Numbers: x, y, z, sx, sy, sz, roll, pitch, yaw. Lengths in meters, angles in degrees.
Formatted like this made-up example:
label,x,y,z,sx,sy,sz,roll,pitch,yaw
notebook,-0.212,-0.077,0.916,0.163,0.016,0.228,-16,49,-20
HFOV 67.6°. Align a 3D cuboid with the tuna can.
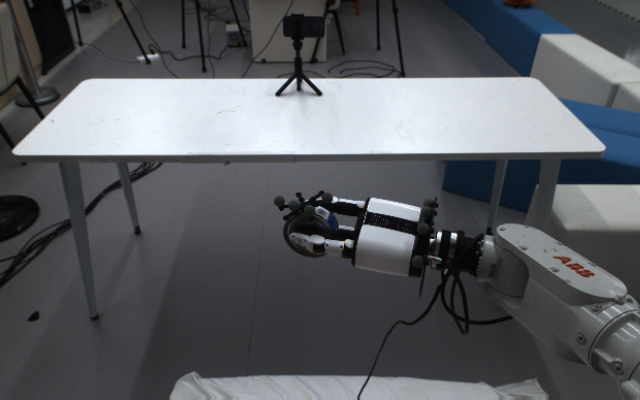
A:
label,x,y,z,sx,sy,sz,roll,pitch,yaw
tuna can,-0.012,0.053,0.773,0.085,0.085,0.034,10,33,11
